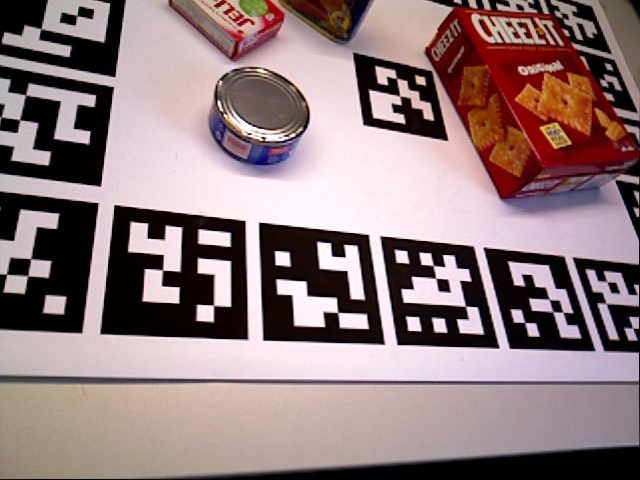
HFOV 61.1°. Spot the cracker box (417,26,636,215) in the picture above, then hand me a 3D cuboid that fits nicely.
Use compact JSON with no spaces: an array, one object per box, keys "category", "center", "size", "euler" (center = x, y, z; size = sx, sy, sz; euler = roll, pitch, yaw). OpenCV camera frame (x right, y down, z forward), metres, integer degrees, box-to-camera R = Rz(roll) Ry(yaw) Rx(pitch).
[{"category":"cracker box","center":[0.233,-0.143,0.618],"size":[0.161,0.074,0.212],"euler":[-11,67,-29]}]

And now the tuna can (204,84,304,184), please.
[{"category":"tuna can","center":[-0.059,-0.093,0.482],"size":[0.085,0.034,0.085],"euler":[8,64,-18]}]

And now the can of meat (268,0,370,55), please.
[{"category":"can of meat","center":[0.001,-0.260,0.579],"size":[0.101,0.086,0.056],"euler":[31,55,-3]}]

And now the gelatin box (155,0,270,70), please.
[{"category":"gelatin box","center":[-0.105,-0.221,0.536],"size":[0.089,0.031,0.071],"euler":[43,53,0]}]
